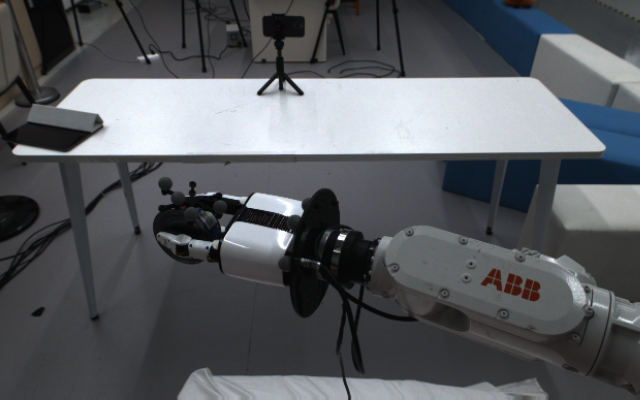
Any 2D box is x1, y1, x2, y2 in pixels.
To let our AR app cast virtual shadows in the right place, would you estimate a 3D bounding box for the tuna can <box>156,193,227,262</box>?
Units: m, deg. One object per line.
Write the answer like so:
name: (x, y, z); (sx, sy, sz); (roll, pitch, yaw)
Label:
tuna can: (-0.174, 0.043, 0.645); (0.085, 0.085, 0.034); (13, 29, 15)
